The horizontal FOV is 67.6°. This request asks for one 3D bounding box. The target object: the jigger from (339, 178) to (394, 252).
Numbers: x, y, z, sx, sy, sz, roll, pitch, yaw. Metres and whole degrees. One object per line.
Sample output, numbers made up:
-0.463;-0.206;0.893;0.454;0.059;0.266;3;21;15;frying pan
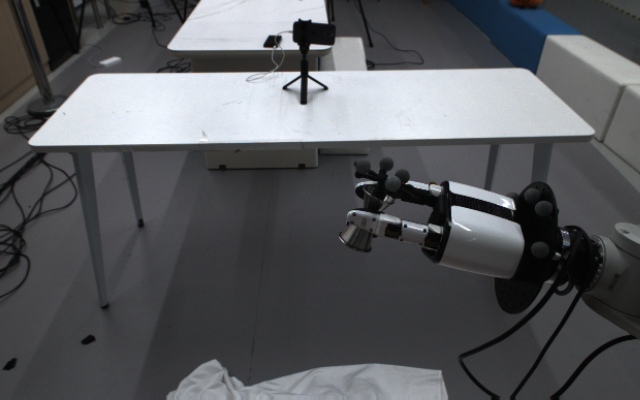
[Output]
0.054;0.022;0.573;0.043;0.071;0.043;23;19;-8;jigger
